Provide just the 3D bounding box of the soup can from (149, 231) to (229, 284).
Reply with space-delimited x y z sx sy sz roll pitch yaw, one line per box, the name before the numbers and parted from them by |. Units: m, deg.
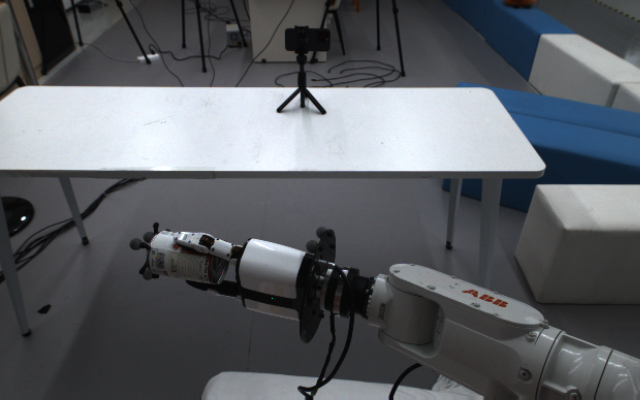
soup can | -0.191 0.087 0.714 0.101 0.067 0.067 8 35 10
